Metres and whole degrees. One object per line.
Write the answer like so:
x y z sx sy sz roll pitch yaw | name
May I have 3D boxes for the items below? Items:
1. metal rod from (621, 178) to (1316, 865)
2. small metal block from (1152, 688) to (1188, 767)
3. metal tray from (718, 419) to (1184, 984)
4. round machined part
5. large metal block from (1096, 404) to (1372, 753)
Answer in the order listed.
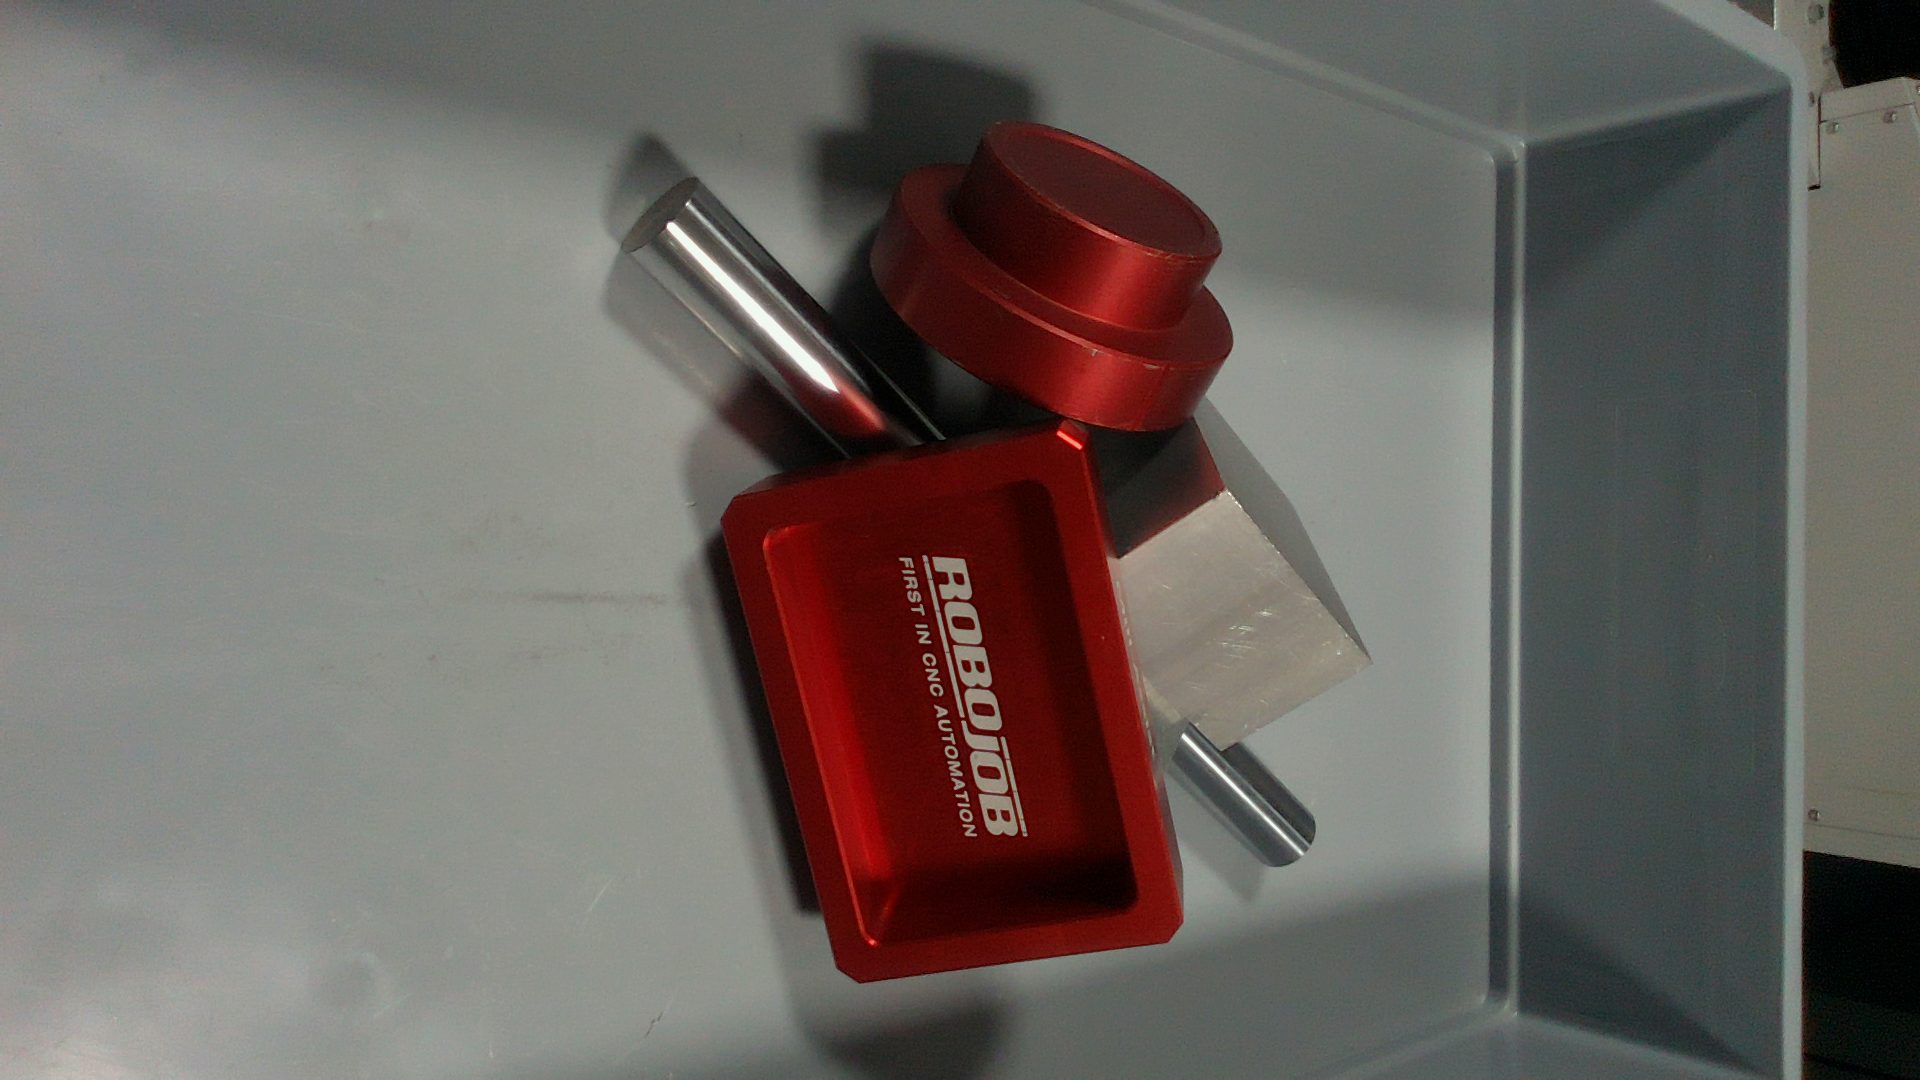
0.021 0.013 0.405 0.301 0.025 0.025 44 64 -31 | metal rod
0.030 0.045 0.396 0.050 0.050 0.025 45 63 -30 | small metal block
0.000 0.041 0.348 0.030 0.090 0.130 -56 134 -75 | metal tray
0.030 -0.075 0.362 0.098 0.098 0.042 -2 132 -40 | round machined part
0.067 0.000 0.401 0.080 0.050 0.080 44 21 -31 | large metal block
